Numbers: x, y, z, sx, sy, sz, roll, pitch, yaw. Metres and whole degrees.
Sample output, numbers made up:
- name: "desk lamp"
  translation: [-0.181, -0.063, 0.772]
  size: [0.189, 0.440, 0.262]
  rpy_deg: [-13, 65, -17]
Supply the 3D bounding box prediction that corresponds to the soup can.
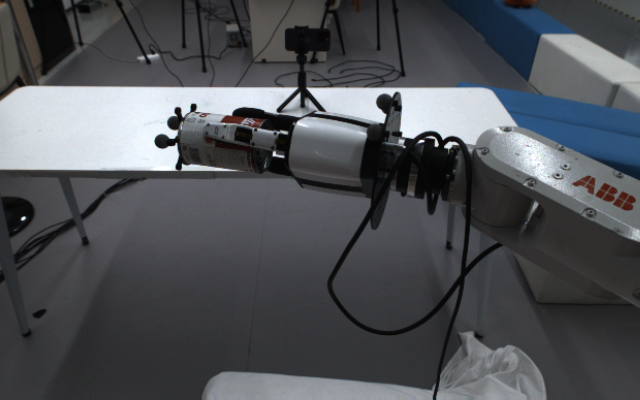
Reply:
- name: "soup can"
  translation: [-0.114, -0.072, 0.603]
  size: [0.101, 0.067, 0.067]
  rpy_deg: [8, 35, 11]
